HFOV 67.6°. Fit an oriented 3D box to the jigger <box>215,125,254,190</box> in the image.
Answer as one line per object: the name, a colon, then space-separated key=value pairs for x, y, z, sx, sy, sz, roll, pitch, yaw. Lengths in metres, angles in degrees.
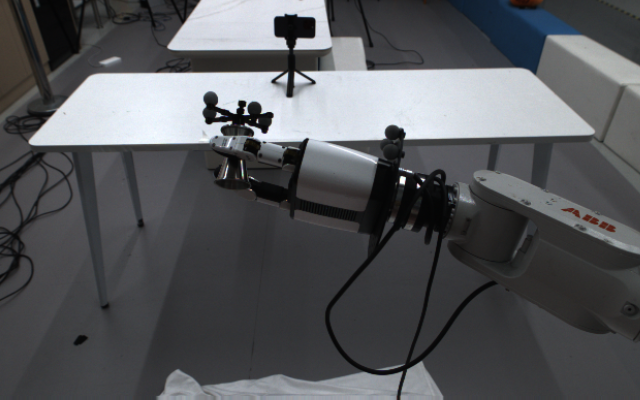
jigger: x=-0.101 y=-0.051 z=0.574 sx=0.043 sy=0.043 sz=0.071 roll=2 pitch=76 yaw=1
